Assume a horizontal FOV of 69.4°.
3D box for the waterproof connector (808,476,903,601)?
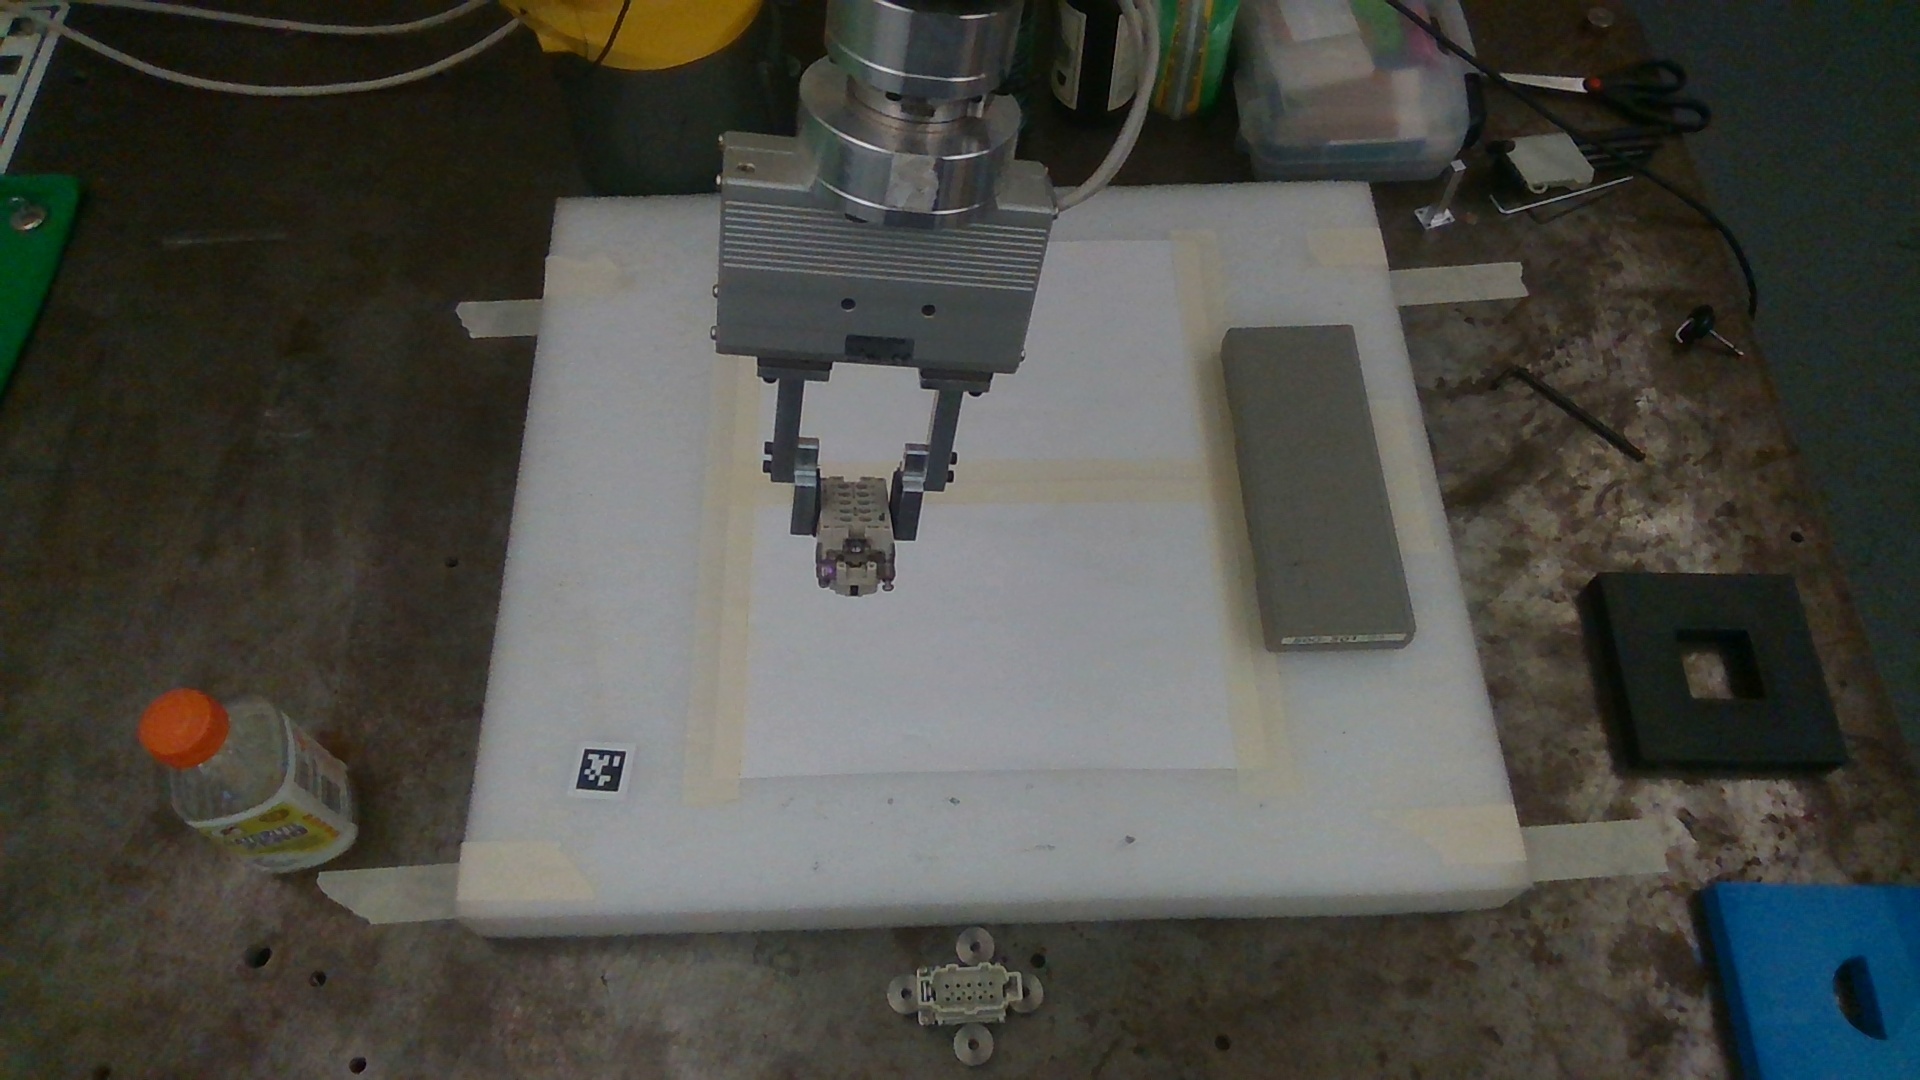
[{"bbox_3d":[-0.048,-0.001,0.619,0.036,0.038,0.069,0,29,-12],"label":"waterproof connector"}]
